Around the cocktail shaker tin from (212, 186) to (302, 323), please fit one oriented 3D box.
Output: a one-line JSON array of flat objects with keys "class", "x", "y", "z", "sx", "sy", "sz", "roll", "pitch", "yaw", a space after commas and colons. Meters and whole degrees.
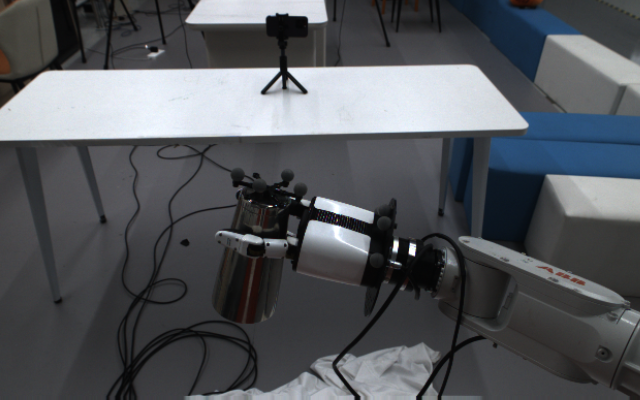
[{"class": "cocktail shaker tin", "x": -0.084, "y": 0.066, "z": 0.649, "sx": 0.093, "sy": 0.170, "sz": 0.093, "roll": 12, "pitch": 25, "yaw": -6}]
